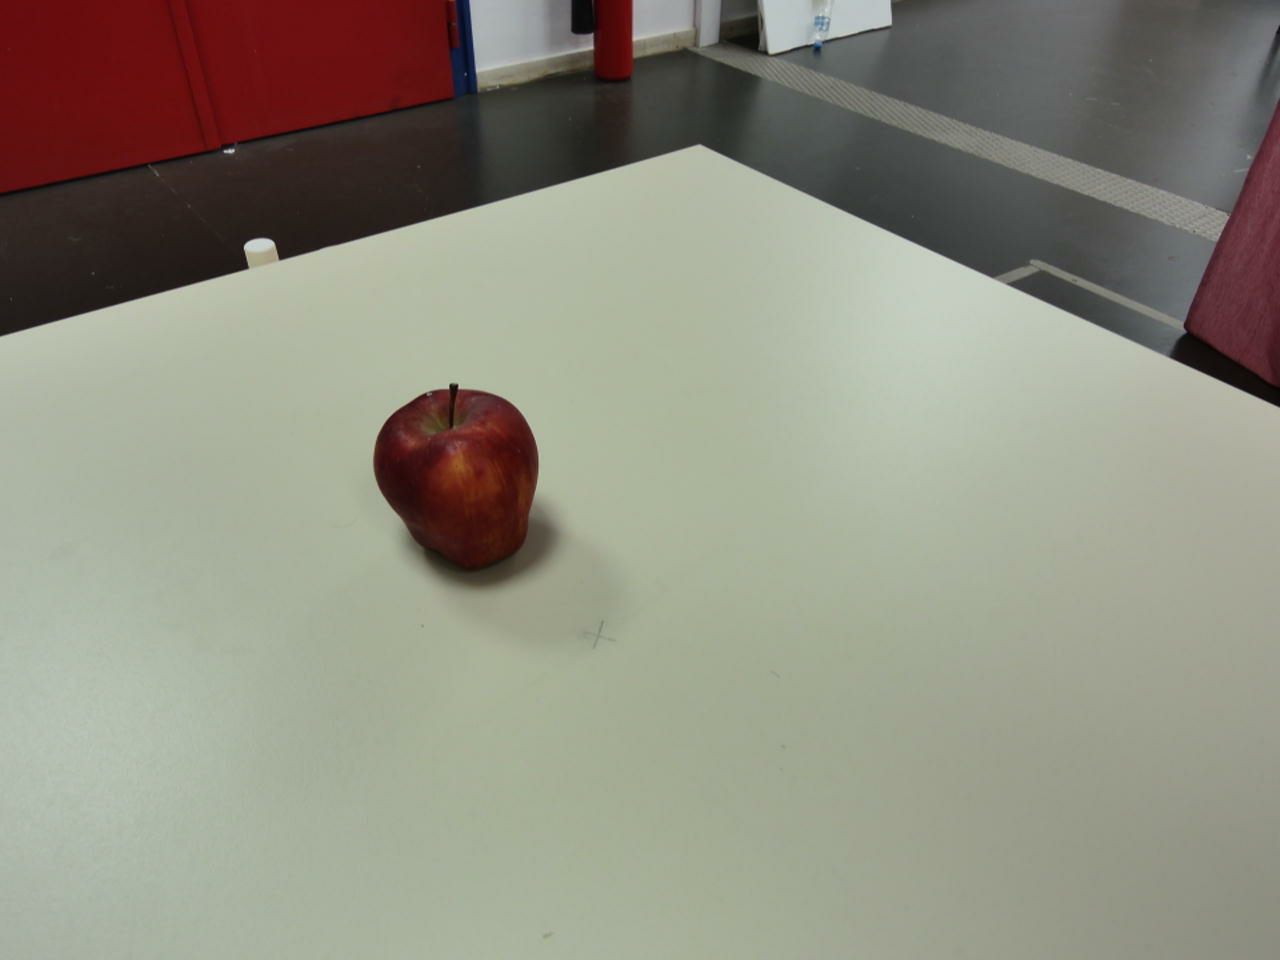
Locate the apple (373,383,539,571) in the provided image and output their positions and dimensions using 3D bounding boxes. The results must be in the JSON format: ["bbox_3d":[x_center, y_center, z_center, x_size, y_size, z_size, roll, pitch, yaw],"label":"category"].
[{"bbox_3d":[-0.088,-0.006,0.486,0.083,0.090,0.083,1,38,-1],"label":"apple"}]
